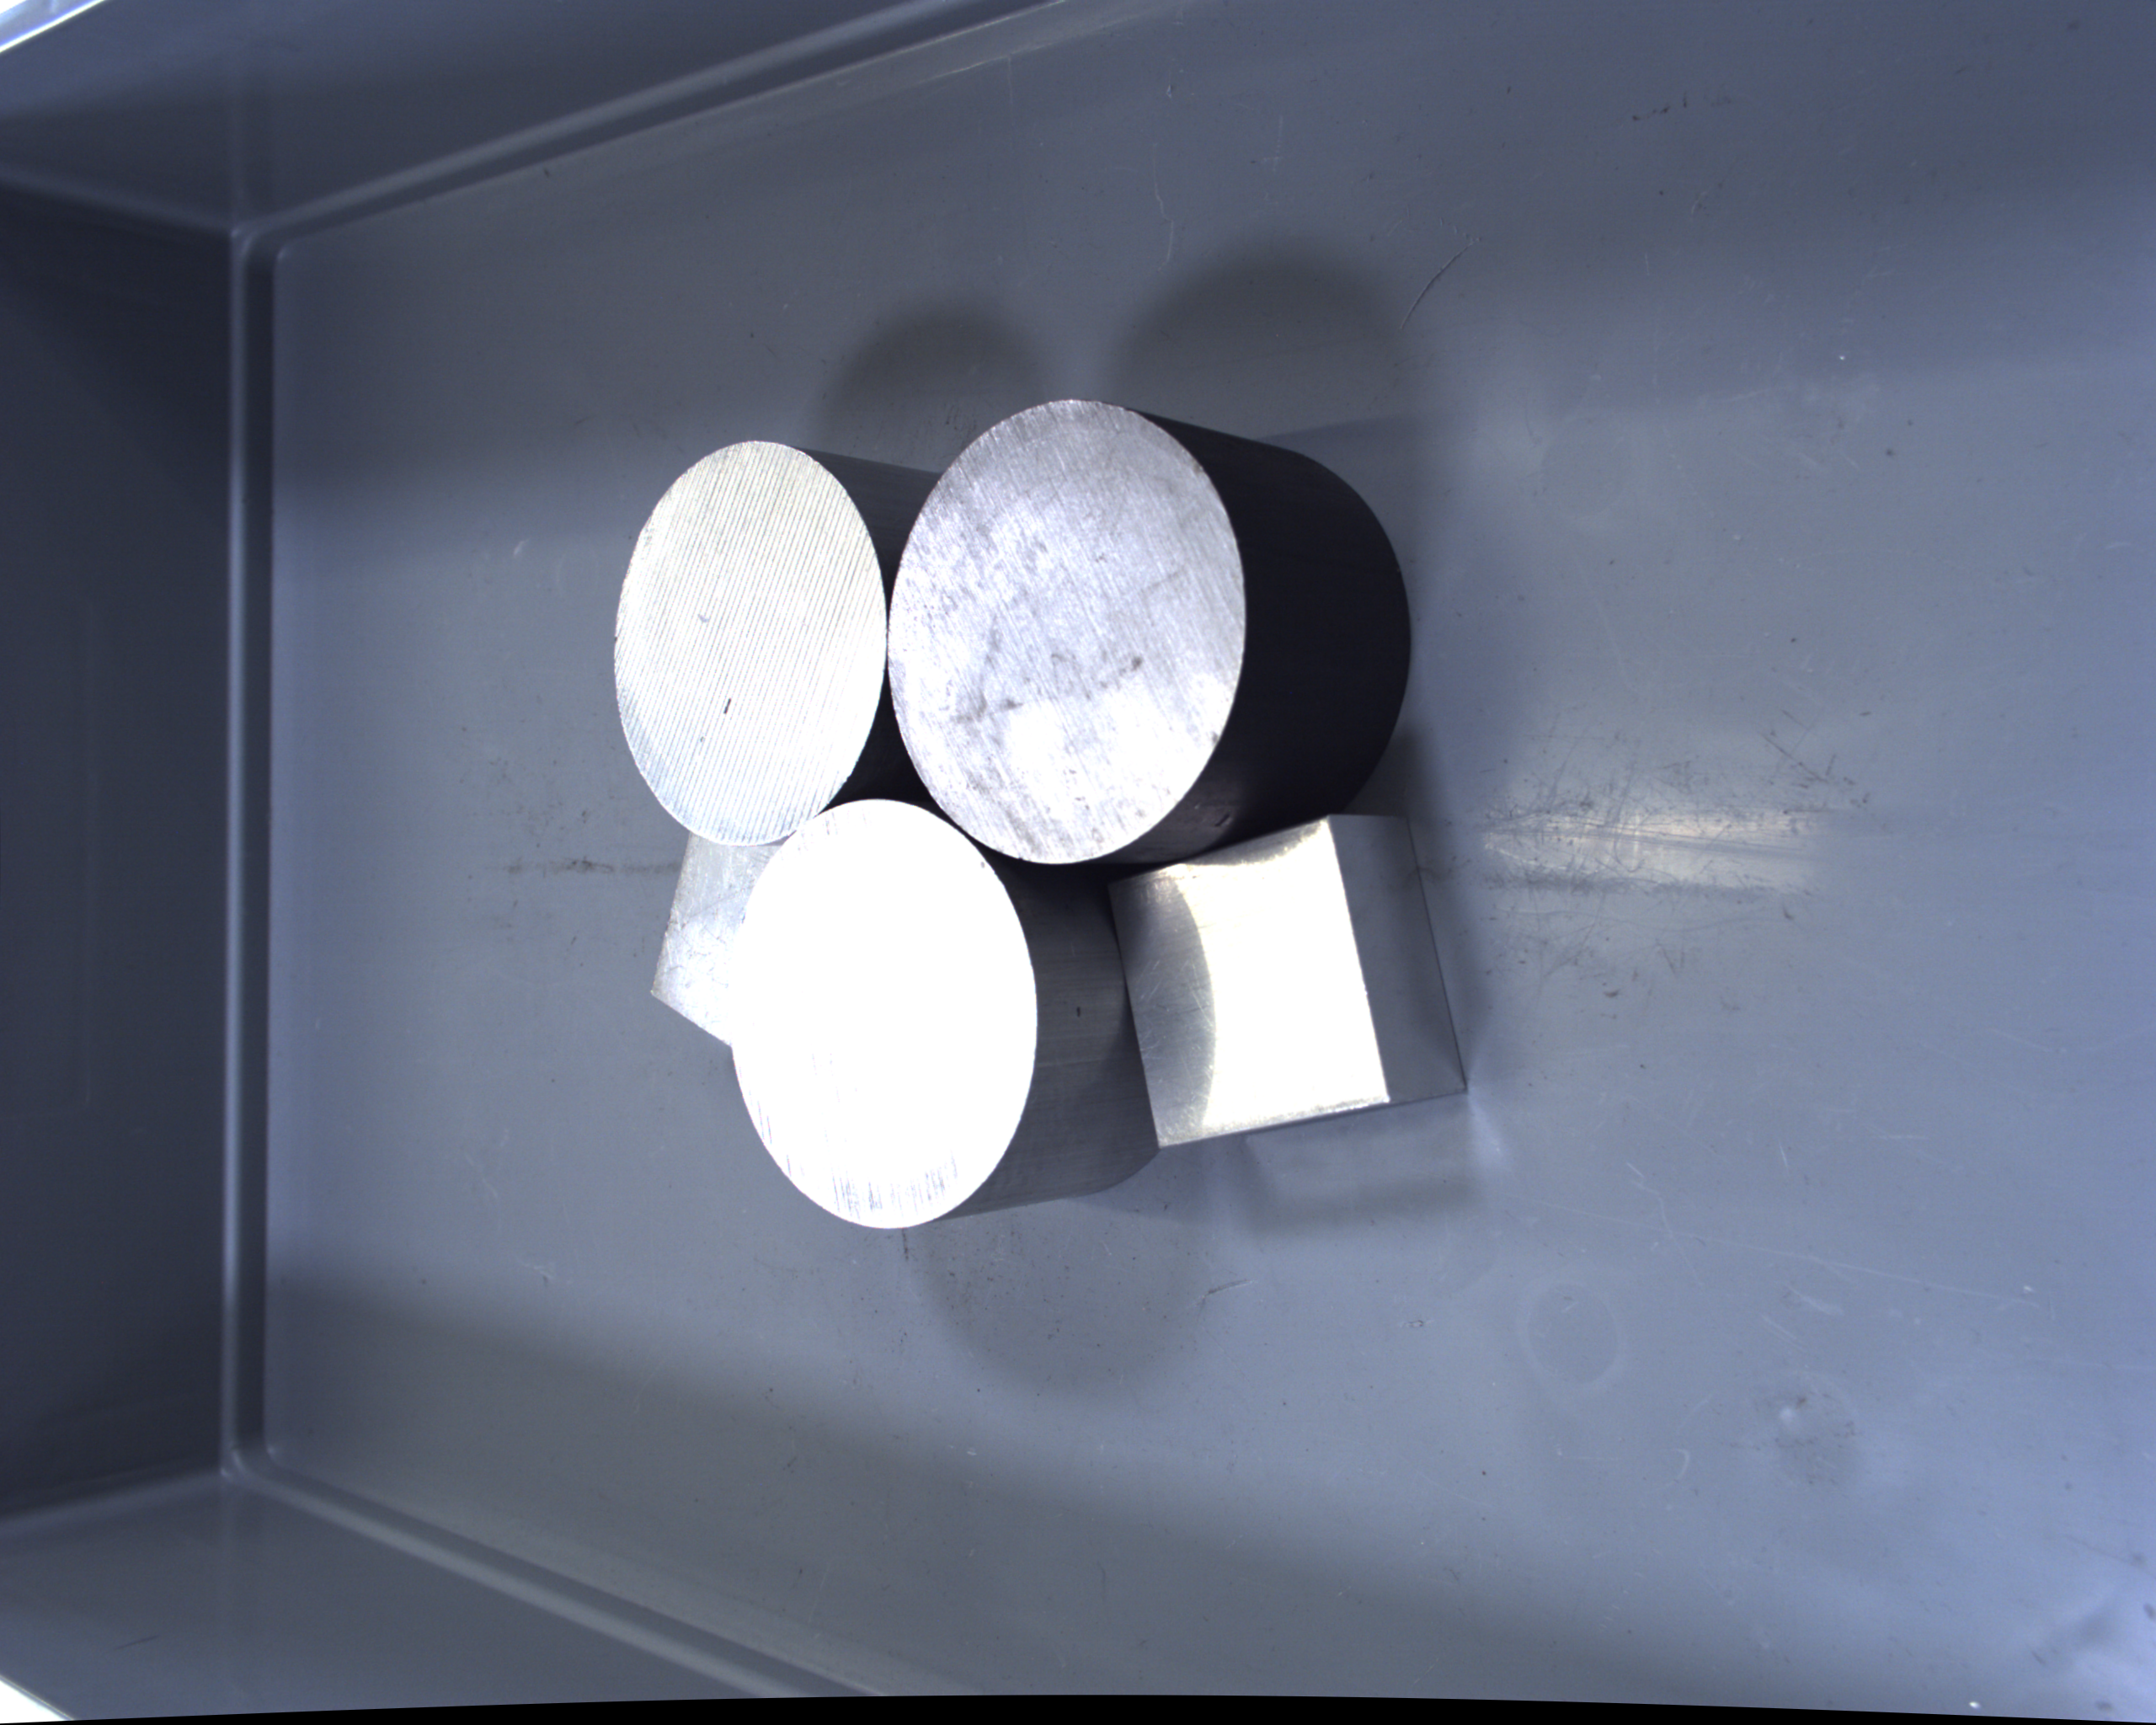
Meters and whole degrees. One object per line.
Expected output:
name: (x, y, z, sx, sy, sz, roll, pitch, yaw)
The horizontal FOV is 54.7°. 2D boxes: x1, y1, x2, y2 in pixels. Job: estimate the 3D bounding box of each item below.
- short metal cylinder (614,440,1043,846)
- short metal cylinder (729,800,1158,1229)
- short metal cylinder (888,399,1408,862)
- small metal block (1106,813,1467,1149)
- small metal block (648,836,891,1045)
short metal cylinder: (-0.050, -0.043, 0.429, 0.080, 0.050, 0.079, 0, 90, 40)
short metal cylinder: (-0.022, 0.028, 0.406, 0.080, 0.050, 0.079, 0, 90, 40)
short metal cylinder: (0.012, -0.040, 0.378, 0.080, 0.050, 0.079, 0, 90, 40)
small metal block: (0.037, 0.022, 0.375, 0.050, 0.025, 0.050, -18, 79, 38)
small metal block: (-0.064, 0.015, 0.457, 0.050, 0.025, 0.050, 26, 107, 37)
